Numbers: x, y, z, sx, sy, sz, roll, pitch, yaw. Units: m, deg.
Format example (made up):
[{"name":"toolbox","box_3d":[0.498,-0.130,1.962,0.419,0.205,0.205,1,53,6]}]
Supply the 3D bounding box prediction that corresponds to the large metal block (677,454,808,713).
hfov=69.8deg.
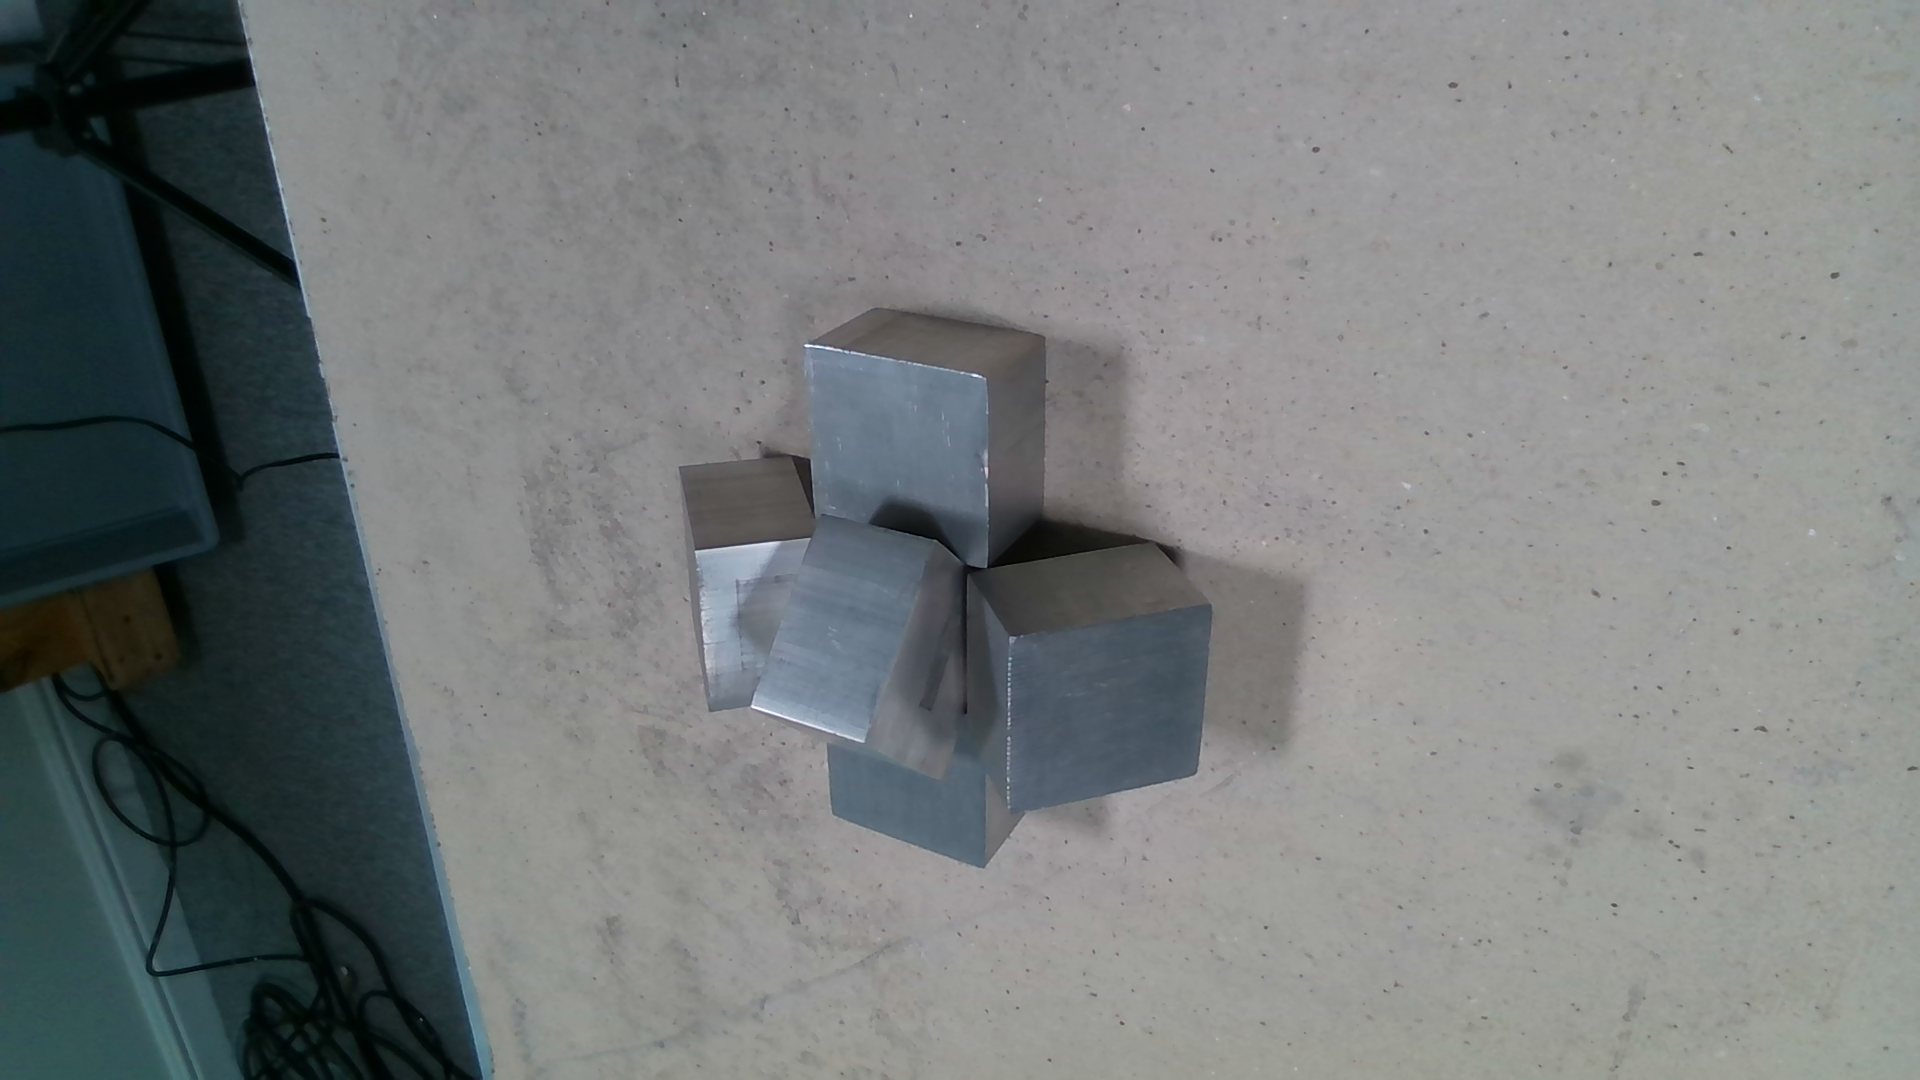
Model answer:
[{"name":"large metal block","box_3d":[-0.092,0.017,0.603,0.050,0.080,0.080,-6,119,-14]}]

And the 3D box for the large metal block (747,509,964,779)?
[{"name":"large metal block","box_3d":[-0.030,0.043,0.544,0.050,0.080,0.080,14,77,25]}]

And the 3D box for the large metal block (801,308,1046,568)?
[{"name":"large metal block","box_3d":[-0.013,-0.043,0.549,0.080,0.050,0.080,14,122,25]}]

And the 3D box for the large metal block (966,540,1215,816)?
[{"name":"large metal block","box_3d":[0.048,0.053,0.536,0.050,0.080,0.080,-125,30,-57]}]

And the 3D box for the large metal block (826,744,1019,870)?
[{"name":"large metal block","box_3d":[-0.013,0.090,0.618,0.080,0.050,0.080,14,122,25]}]
